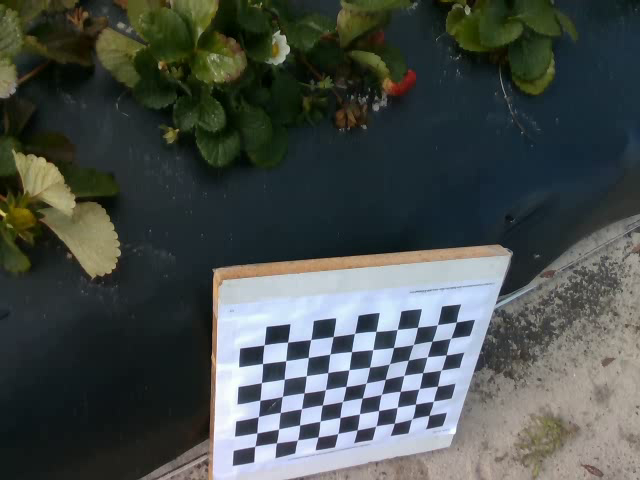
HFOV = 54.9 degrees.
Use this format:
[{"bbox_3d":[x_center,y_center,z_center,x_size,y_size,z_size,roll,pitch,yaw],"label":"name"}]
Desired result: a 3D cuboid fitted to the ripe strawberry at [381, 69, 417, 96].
[{"bbox_3d":[0.050,-0.105,0.392,0.027,0.021,0.022,-20,-43,4],"label":"ripe strawberry"}]
